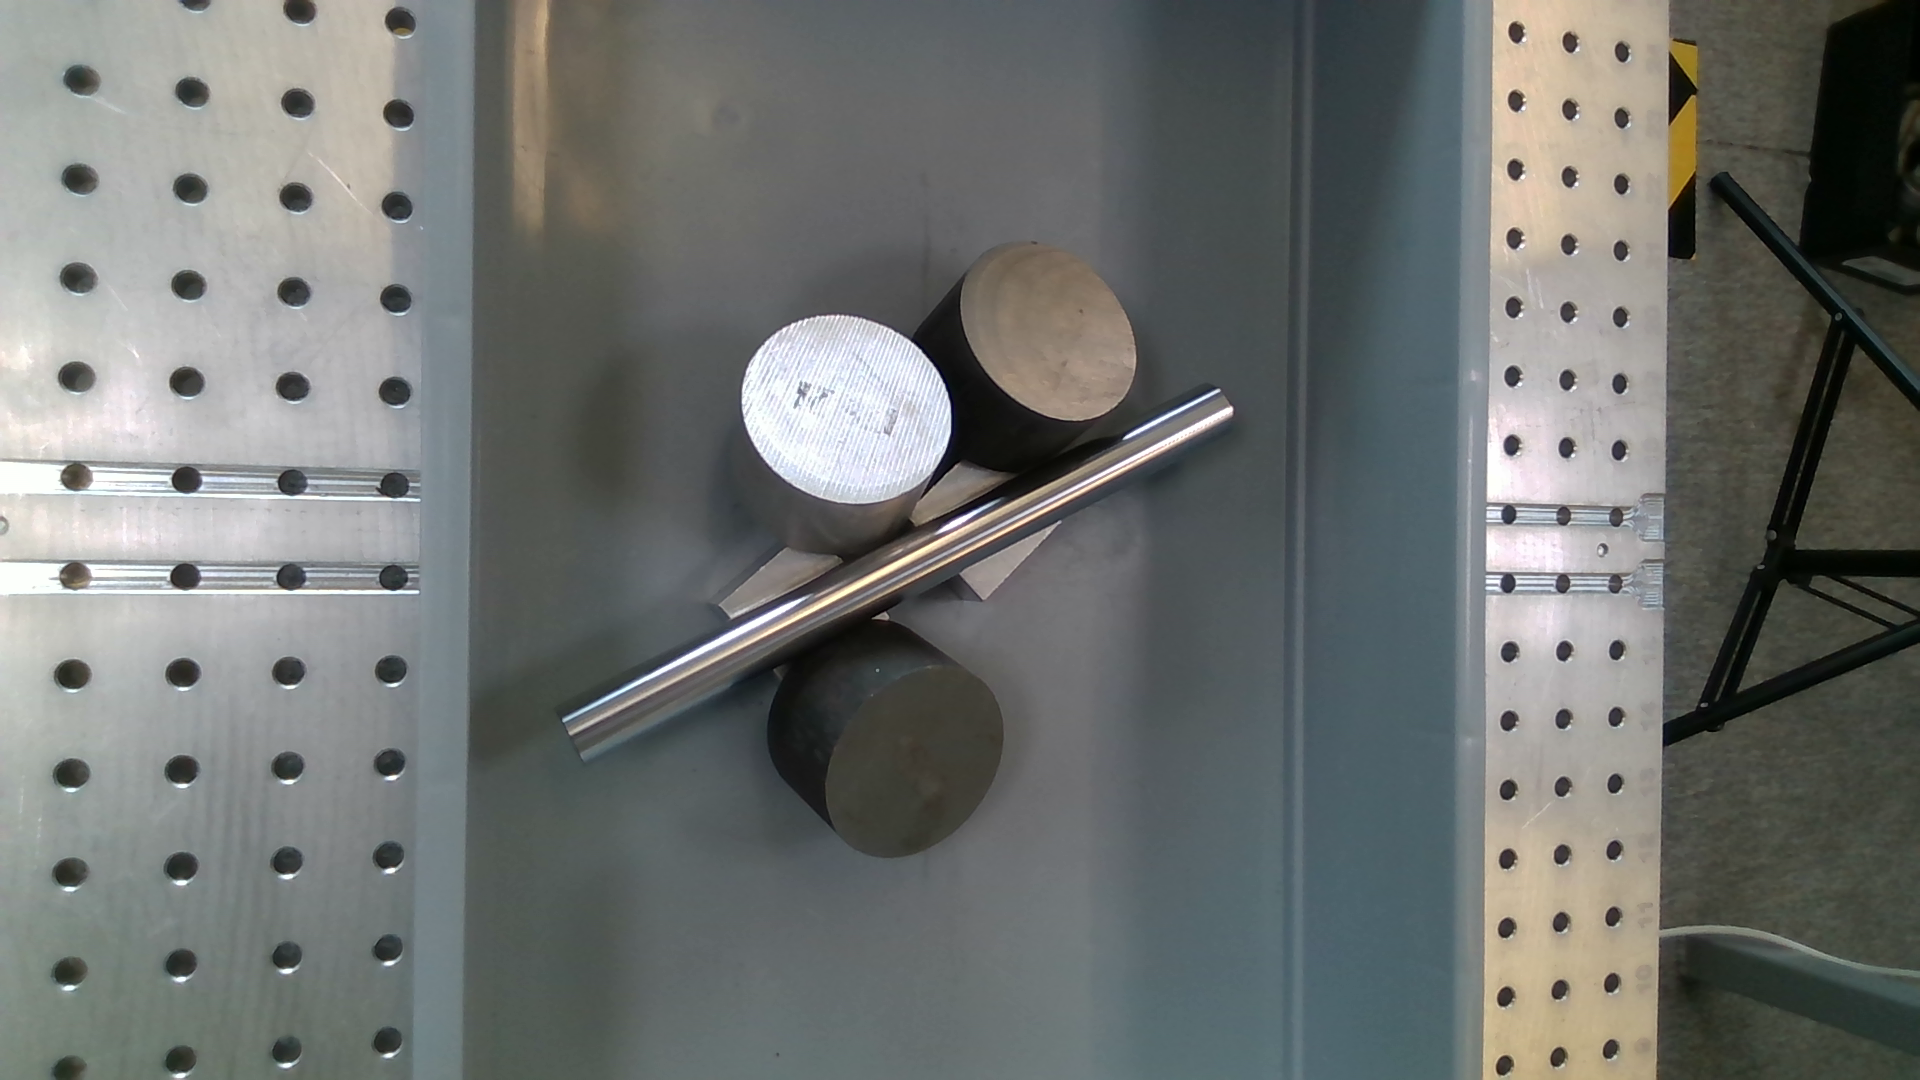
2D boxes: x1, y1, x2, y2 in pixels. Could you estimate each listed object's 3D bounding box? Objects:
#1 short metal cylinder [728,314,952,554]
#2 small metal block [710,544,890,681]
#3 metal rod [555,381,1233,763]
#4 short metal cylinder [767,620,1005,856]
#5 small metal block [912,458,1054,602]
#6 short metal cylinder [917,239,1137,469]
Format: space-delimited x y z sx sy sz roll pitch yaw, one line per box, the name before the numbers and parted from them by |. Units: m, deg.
short metal cylinder | -0.048 -0.041 0.539 0.080 0.050 0.080 6 66 -14
small metal block | -0.066 0.028 0.561 0.050 0.025 0.050 -42 104 -15
metal rod | -0.016 0.007 0.552 0.300 0.025 0.025 -27 99 -18
short metal cylinder | -0.029 0.078 0.548 0.080 0.050 0.080 -14 116 -31
small metal block | 0.006 -0.010 0.587 0.050 0.025 0.050 -45 104 -14
short metal cylinder | 0.025 -0.076 0.566 0.080 0.050 0.080 11 64 -25
